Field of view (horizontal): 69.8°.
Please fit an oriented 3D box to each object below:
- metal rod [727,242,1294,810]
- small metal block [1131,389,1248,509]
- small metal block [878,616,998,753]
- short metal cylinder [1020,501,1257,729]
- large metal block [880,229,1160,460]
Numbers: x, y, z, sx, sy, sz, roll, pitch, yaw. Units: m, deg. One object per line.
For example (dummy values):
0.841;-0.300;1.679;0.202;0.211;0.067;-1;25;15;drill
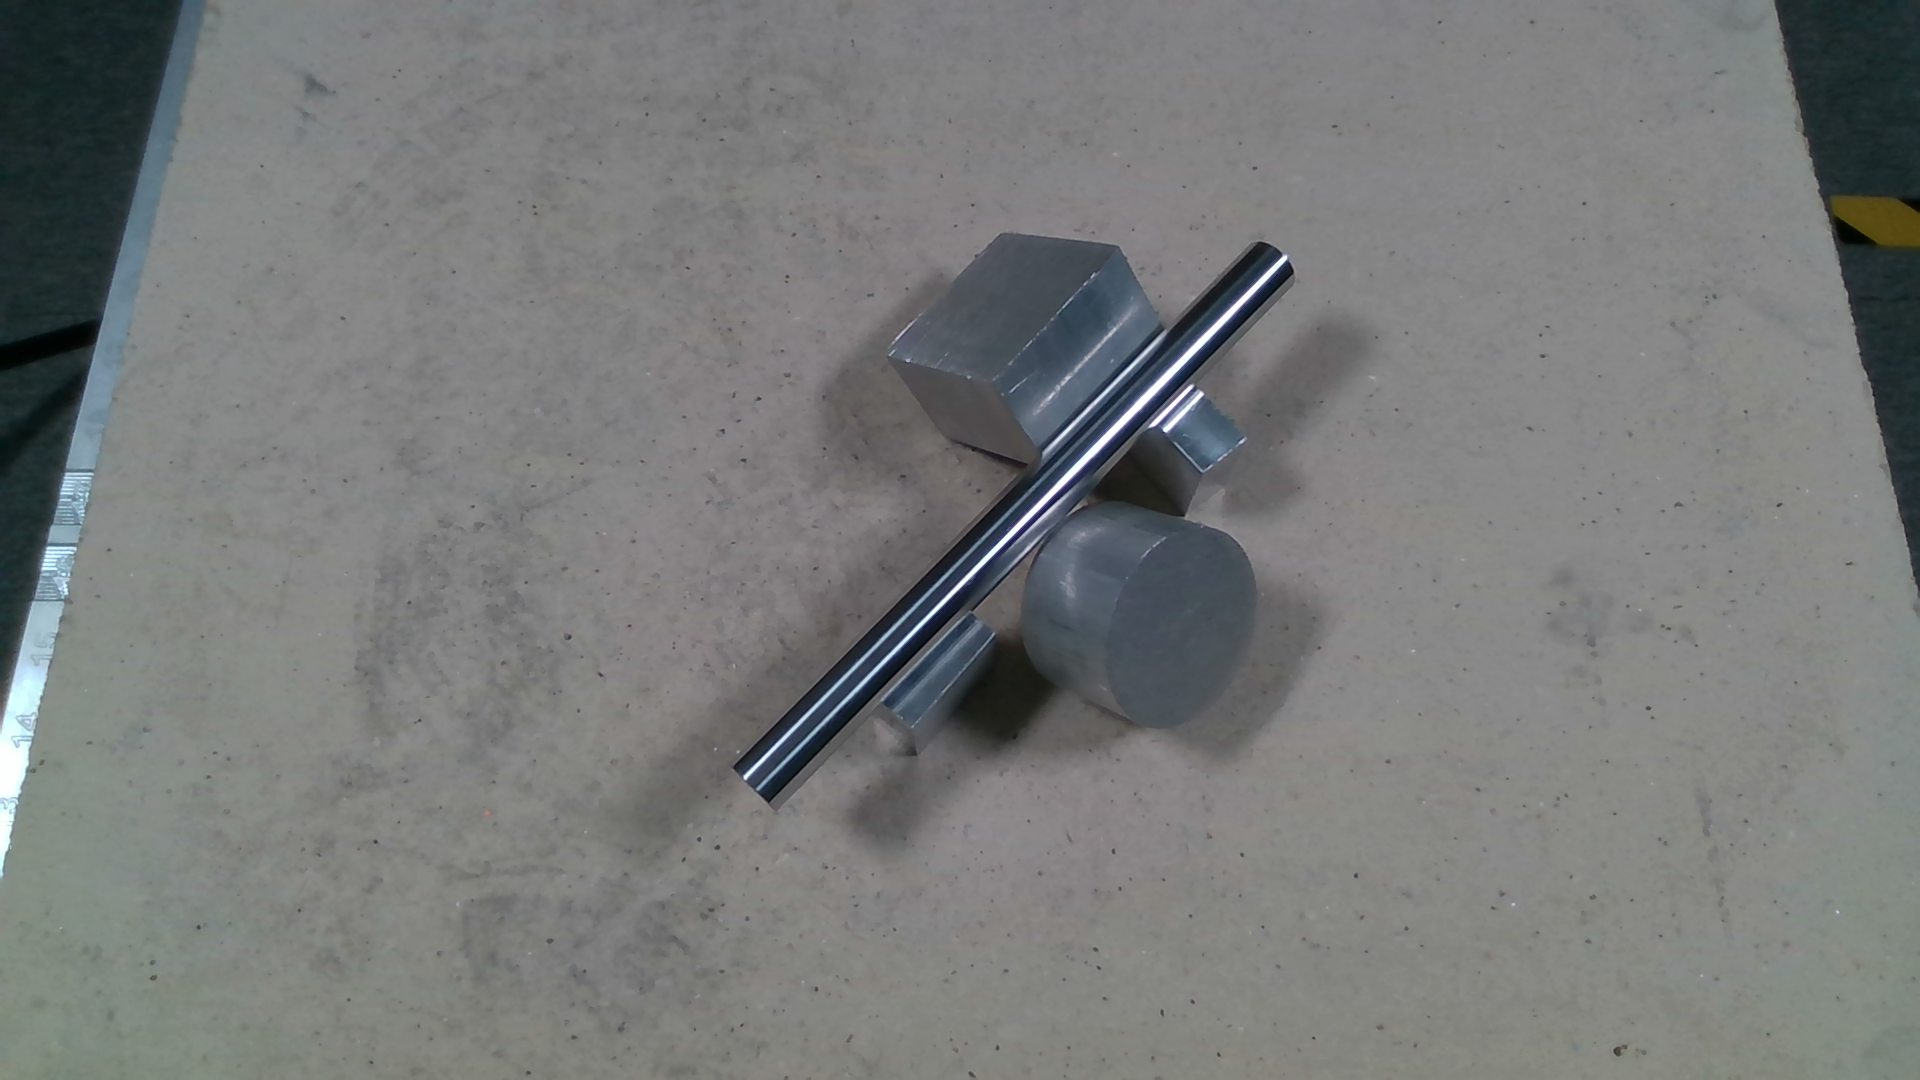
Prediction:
0.027;-0.012;0.540;0.025;0.025;0.300;42;75;13;metal rod
0.093;-0.044;0.591;0.025;0.050;0.050;-37;74;-12;small metal block
-0.011;0.055;0.552;0.025;0.050;0.050;39;75;13;small metal block
0.071;0.028;0.542;0.080;0.080;0.050;-49;36;-15;short metal cylinder
0.027;-0.084;0.586;0.080;0.050;0.080;-48;36;-15;large metal block
